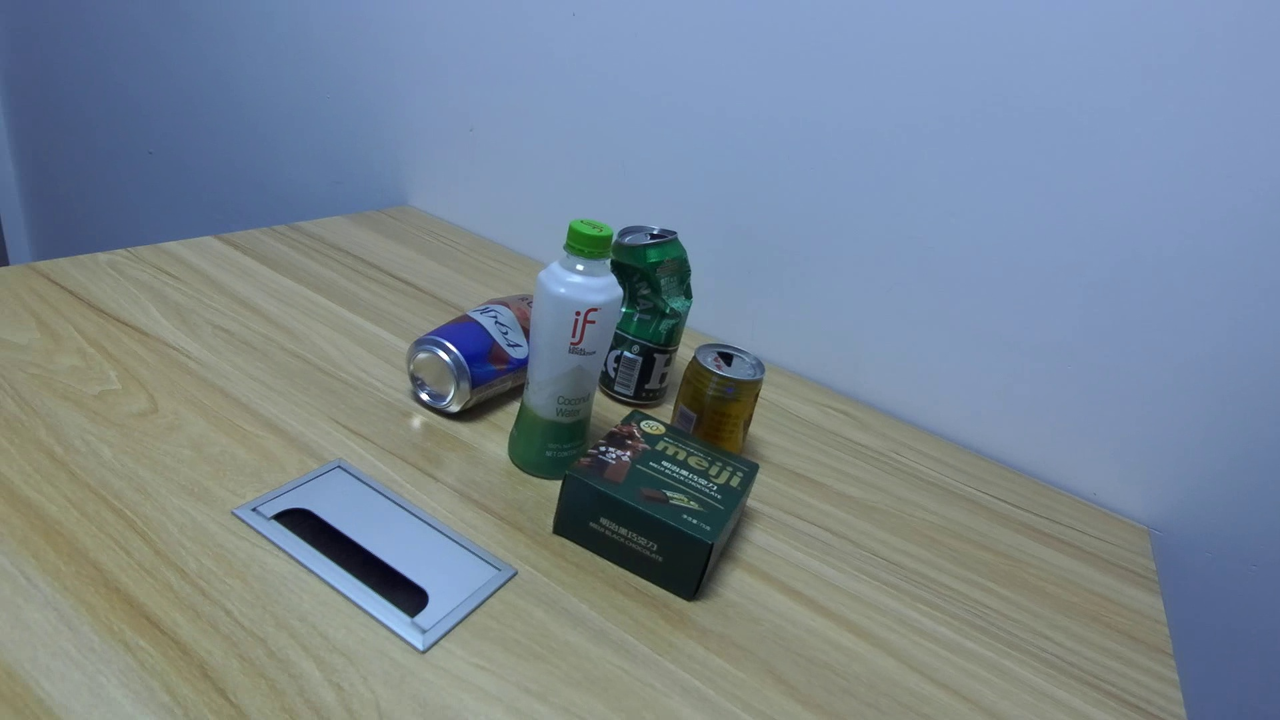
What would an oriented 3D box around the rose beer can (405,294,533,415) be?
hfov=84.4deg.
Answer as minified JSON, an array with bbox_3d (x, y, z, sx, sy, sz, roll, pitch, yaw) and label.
[{"bbox_3d":[-0.128,-0.012,0.629,0.069,0.069,0.168,1,22,28],"label":"rose beer can"}]

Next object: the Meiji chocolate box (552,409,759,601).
[{"bbox_3d":[0.014,0.097,0.499,0.109,0.056,0.109,23,28,17],"label":"Meiji chocolate box"}]

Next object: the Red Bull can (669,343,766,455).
[{"bbox_3d":[0.063,0.040,0.585,0.069,0.092,0.069,11,23,-5],"label":"Red Bull can"}]

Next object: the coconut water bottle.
[{"bbox_3d":[-0.052,-0.007,0.514,0.063,0.188,0.063,11,27,-5],"label":"coconut water bottle"}]

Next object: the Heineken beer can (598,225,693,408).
[{"bbox_3d":[0.006,-0.039,0.644,0.079,0.159,0.067,6,22,0],"label":"Heineken beer can"}]
